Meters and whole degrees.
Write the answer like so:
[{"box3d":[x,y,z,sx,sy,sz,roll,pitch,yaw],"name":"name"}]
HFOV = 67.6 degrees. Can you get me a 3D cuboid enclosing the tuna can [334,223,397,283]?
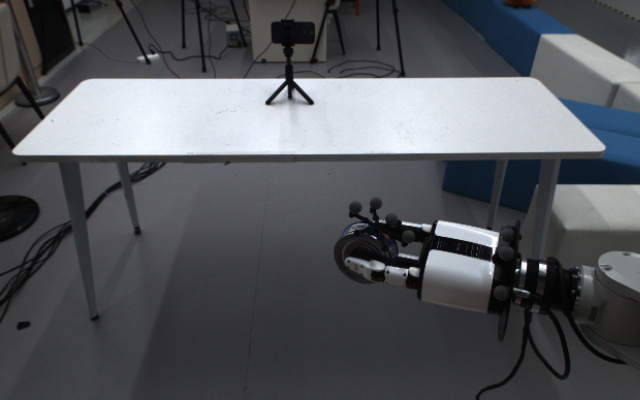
[{"box3d":[0.067,0.081,0.673,0.085,0.085,0.034,15,31,18],"name":"tuna can"}]
